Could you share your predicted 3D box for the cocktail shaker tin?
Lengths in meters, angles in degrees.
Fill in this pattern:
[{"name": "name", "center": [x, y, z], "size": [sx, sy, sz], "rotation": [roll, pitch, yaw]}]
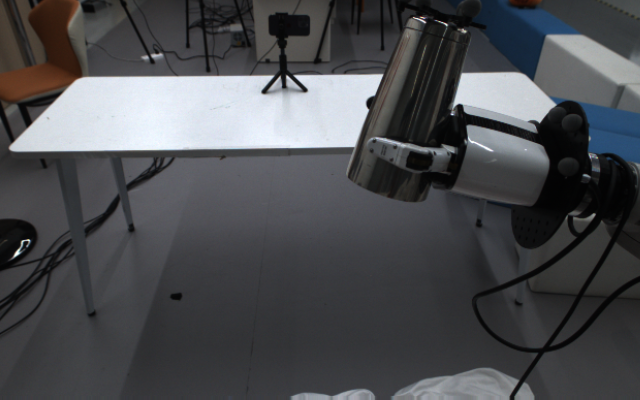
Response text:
[{"name": "cocktail shaker tin", "center": [0.096, -0.094, 0.503], "size": [0.093, 0.170, 0.093], "rotation": [14, 20, -5]}]
